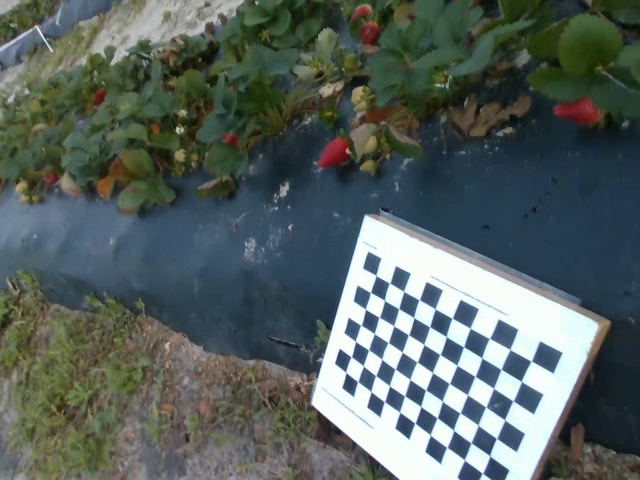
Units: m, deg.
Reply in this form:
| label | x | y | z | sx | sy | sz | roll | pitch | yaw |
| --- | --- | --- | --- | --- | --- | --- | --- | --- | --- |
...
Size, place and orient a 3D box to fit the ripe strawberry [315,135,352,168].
| label | x | y | z | sx | sy | sz | roll | pitch | yaw |
| --- | --- | --- | --- | --- | --- | --- | --- | --- | --- |
| ripe strawberry | 0.018 | -0.122 | 0.830 | 0.050 | 0.034 | 0.059 | 15 | 53 | 47 |
